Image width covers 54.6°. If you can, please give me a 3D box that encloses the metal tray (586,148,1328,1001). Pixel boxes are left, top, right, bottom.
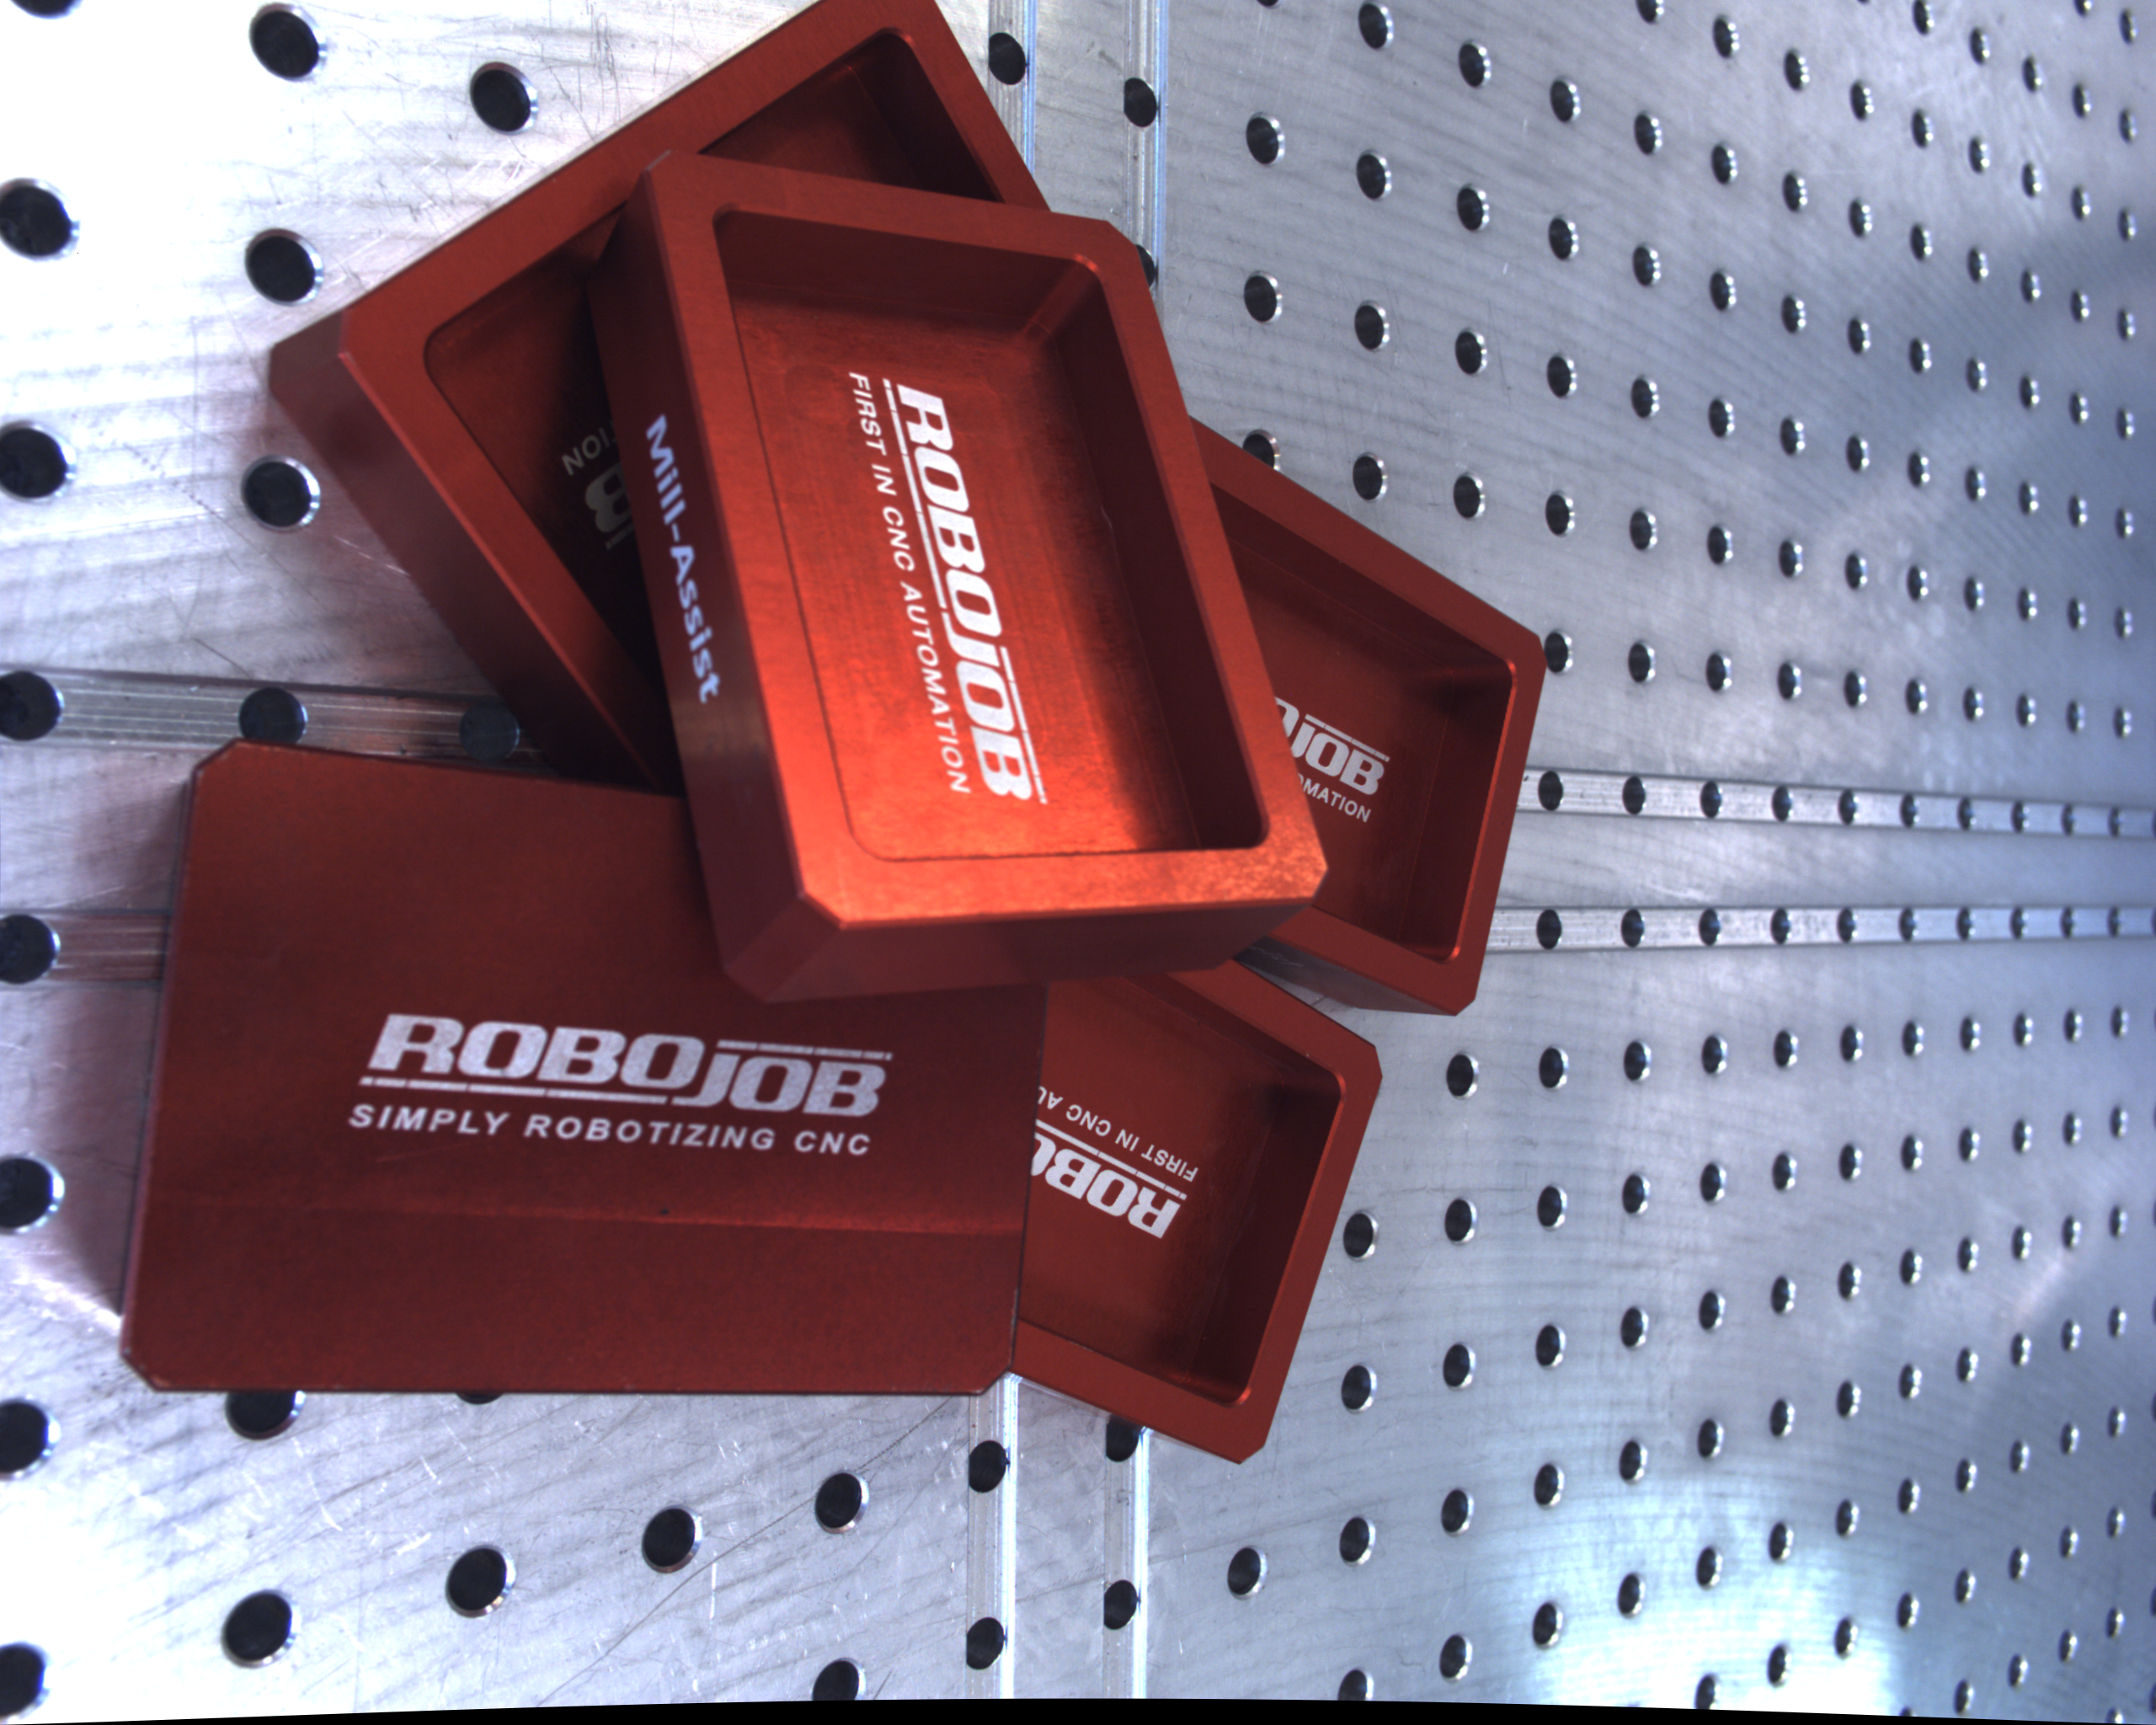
[{"bbox_3d":[-0.020,-0.046,0.332,0.091,0.030,0.130,-2,67,-33],"label":"metal tray"}]

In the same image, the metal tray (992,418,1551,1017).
[{"bbox_3d":[0.041,-0.028,0.437,0.131,0.030,0.090,23,76,-38],"label":"metal tray"}]

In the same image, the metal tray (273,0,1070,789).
[{"bbox_3d":[-0.055,-0.083,0.357,0.131,0.030,0.090,-47,117,-29],"label":"metal tray"}]

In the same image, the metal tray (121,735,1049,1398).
[{"bbox_3d":[-0.072,0.034,0.323,0.131,0.030,0.090,8,86,-26],"label":"metal tray"}]

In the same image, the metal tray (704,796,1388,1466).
[{"bbox_3d":[-0.003,0.053,0.401,0.130,0.030,0.090,32,71,-35],"label":"metal tray"}]
